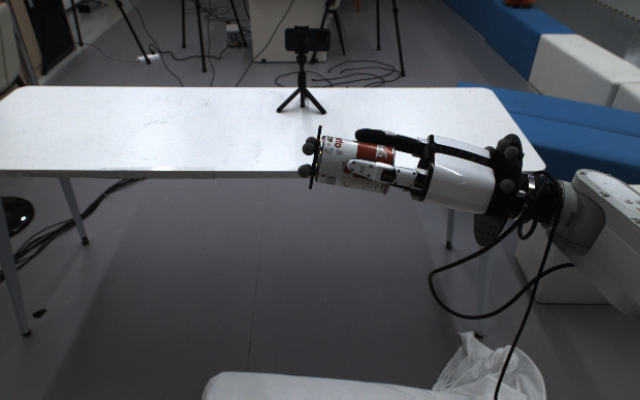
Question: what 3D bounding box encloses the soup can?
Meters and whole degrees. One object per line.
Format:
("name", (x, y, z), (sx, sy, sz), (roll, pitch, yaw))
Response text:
("soup can", (0.050, -0.050, 0.677), (0.101, 0.067, 0.067), (9, 35, 0))
